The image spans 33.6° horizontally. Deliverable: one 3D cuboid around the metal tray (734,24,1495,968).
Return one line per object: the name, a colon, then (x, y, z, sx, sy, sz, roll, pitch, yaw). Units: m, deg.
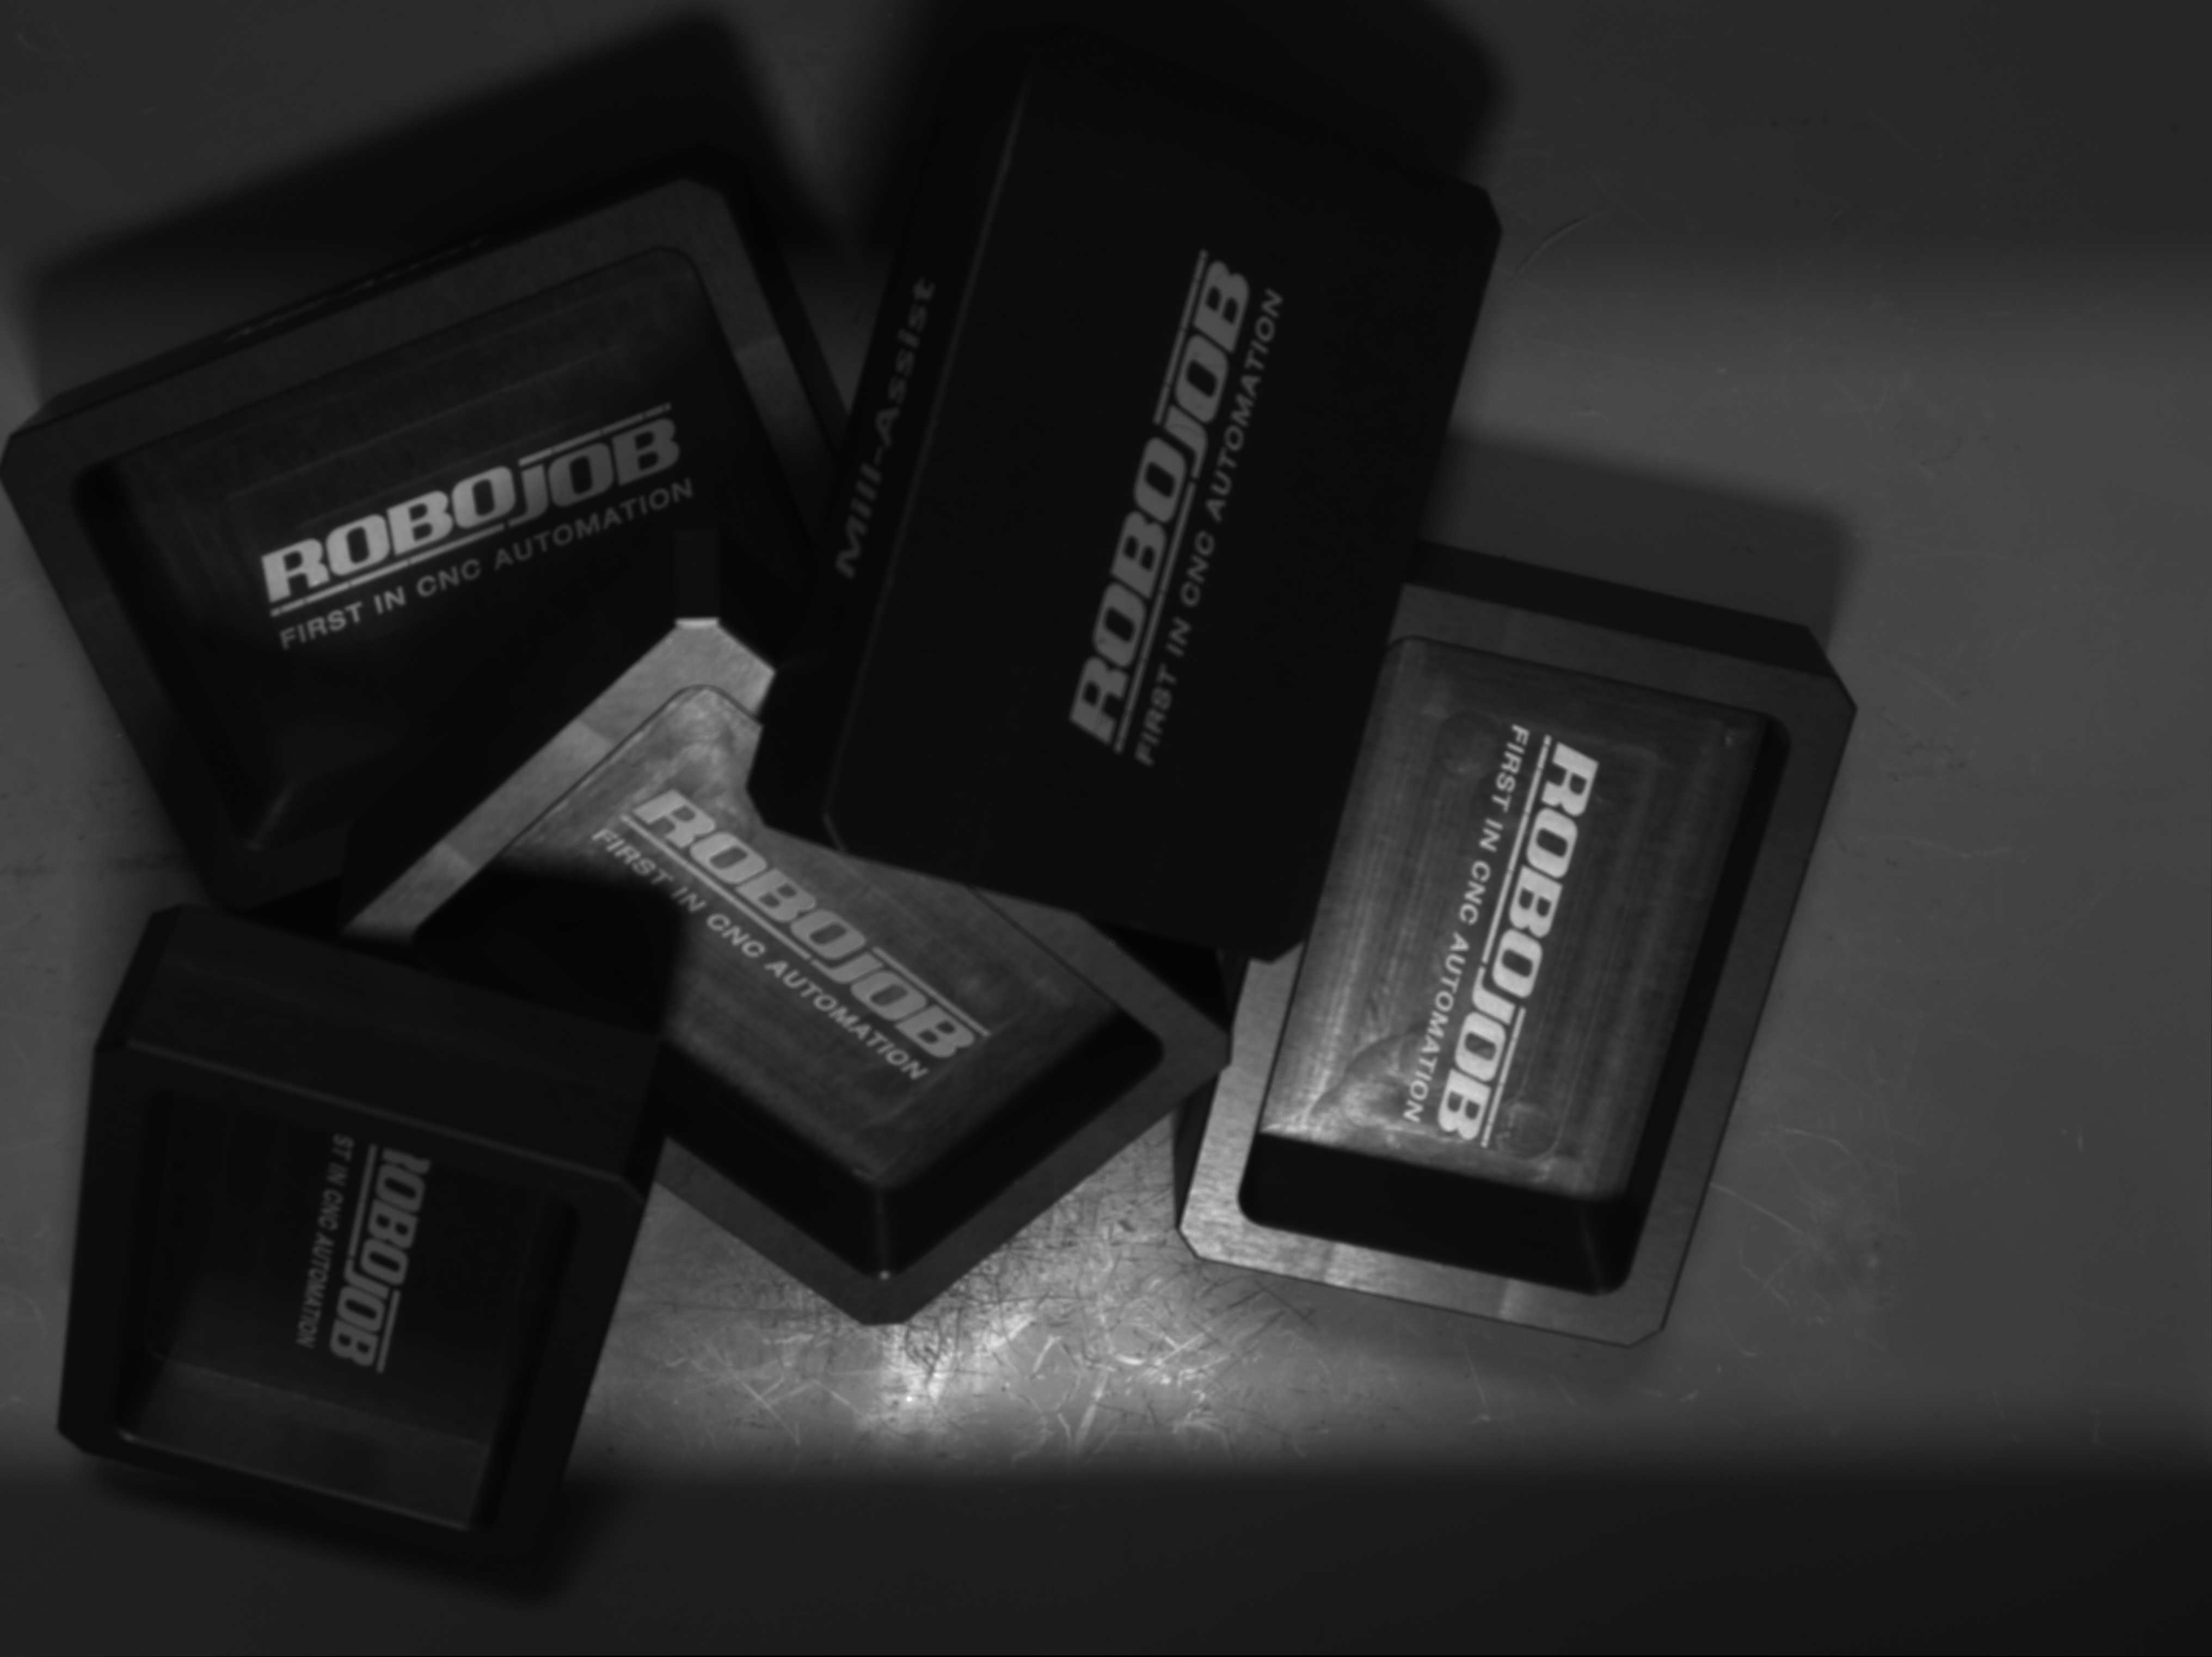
metal tray: (0.002, -0.051, 0.584, 0.090, 0.030, 0.130, 16, 91, -30)

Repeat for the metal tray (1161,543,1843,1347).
metal tray: (0.067, 0.021, 0.647, 0.090, 0.030, 0.130, 12, 109, -5)

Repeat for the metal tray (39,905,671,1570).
metal tray: (-0.133, 0.074, 0.633, 0.090, 0.030, 0.130, 16, 137, -6)

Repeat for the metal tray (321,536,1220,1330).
metal tray: (-0.055, 0.021, 0.623, 0.090, 0.030, 0.130, -40, 120, 19)

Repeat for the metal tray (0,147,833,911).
metal tray: (-0.110, -0.050, 0.620, 0.130, 0.030, 0.090, -20, 109, 6)
